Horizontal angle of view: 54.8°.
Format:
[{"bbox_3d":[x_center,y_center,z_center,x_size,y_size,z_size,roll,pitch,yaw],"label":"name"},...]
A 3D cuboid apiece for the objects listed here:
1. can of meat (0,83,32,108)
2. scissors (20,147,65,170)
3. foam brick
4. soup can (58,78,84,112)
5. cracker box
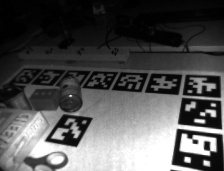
[{"bbox_3d":[-0.319,0.046,0.697,0.100,0.084,0.058,14,49,31],"label":"can of meat"},{"bbox_3d":[-0.213,0.189,0.534,0.201,0.016,0.087,-1,42,18],"label":"scissors"},{"bbox_3d":[-0.216,0.043,0.697,0.077,0.052,0.052,-5,42,13],"label":"foam brick"},{"bbox_3d":[-0.132,0.028,0.686,0.068,0.068,0.101,-22,35,-7],"label":"soup can"},{"bbox_3d":[-0.316,0.138,0.579,0.212,0.072,0.164,-4,40,20],"label":"cracker box"}]
